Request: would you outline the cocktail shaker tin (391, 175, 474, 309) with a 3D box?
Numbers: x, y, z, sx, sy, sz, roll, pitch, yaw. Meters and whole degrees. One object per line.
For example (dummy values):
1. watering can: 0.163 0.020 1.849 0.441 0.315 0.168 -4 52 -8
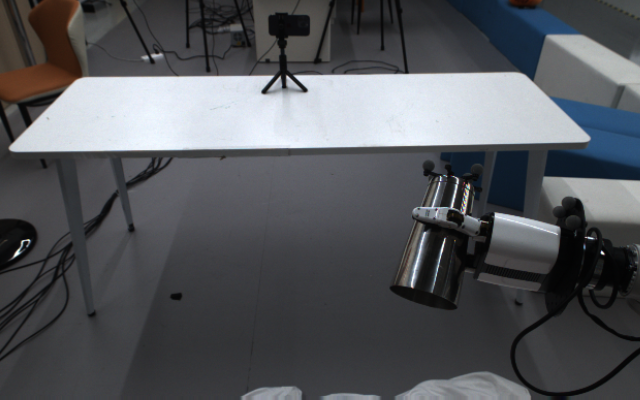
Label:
1. cocktail shaker tin: 0.162 0.054 0.669 0.093 0.093 0.170 14 69 17
